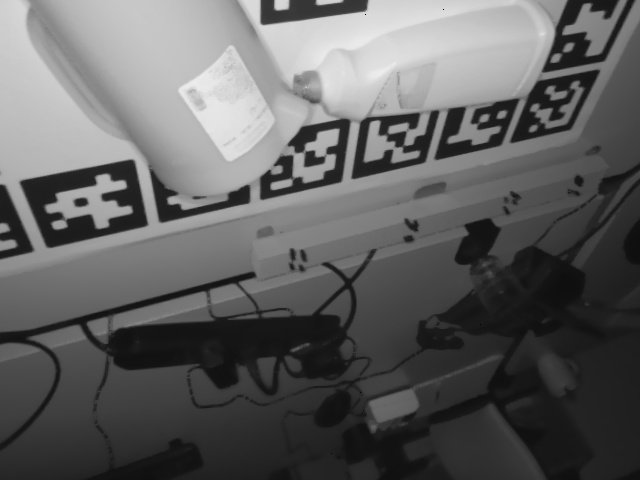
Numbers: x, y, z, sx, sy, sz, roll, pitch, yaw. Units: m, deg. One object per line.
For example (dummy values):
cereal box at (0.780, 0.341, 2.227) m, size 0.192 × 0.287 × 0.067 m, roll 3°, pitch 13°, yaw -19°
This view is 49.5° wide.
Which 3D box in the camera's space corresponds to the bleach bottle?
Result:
bleach bottle at (0.113, -0.164, 0.671) m, size 0.253 × 0.068 × 0.101 m, roll -13°, pitch 139°, yaw -14°

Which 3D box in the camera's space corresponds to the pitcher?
pitcher at (-0.117, -0.164, 0.501) m, size 0.187 × 0.135 × 0.242 m, roll 1°, pitch 147°, yaw 24°
